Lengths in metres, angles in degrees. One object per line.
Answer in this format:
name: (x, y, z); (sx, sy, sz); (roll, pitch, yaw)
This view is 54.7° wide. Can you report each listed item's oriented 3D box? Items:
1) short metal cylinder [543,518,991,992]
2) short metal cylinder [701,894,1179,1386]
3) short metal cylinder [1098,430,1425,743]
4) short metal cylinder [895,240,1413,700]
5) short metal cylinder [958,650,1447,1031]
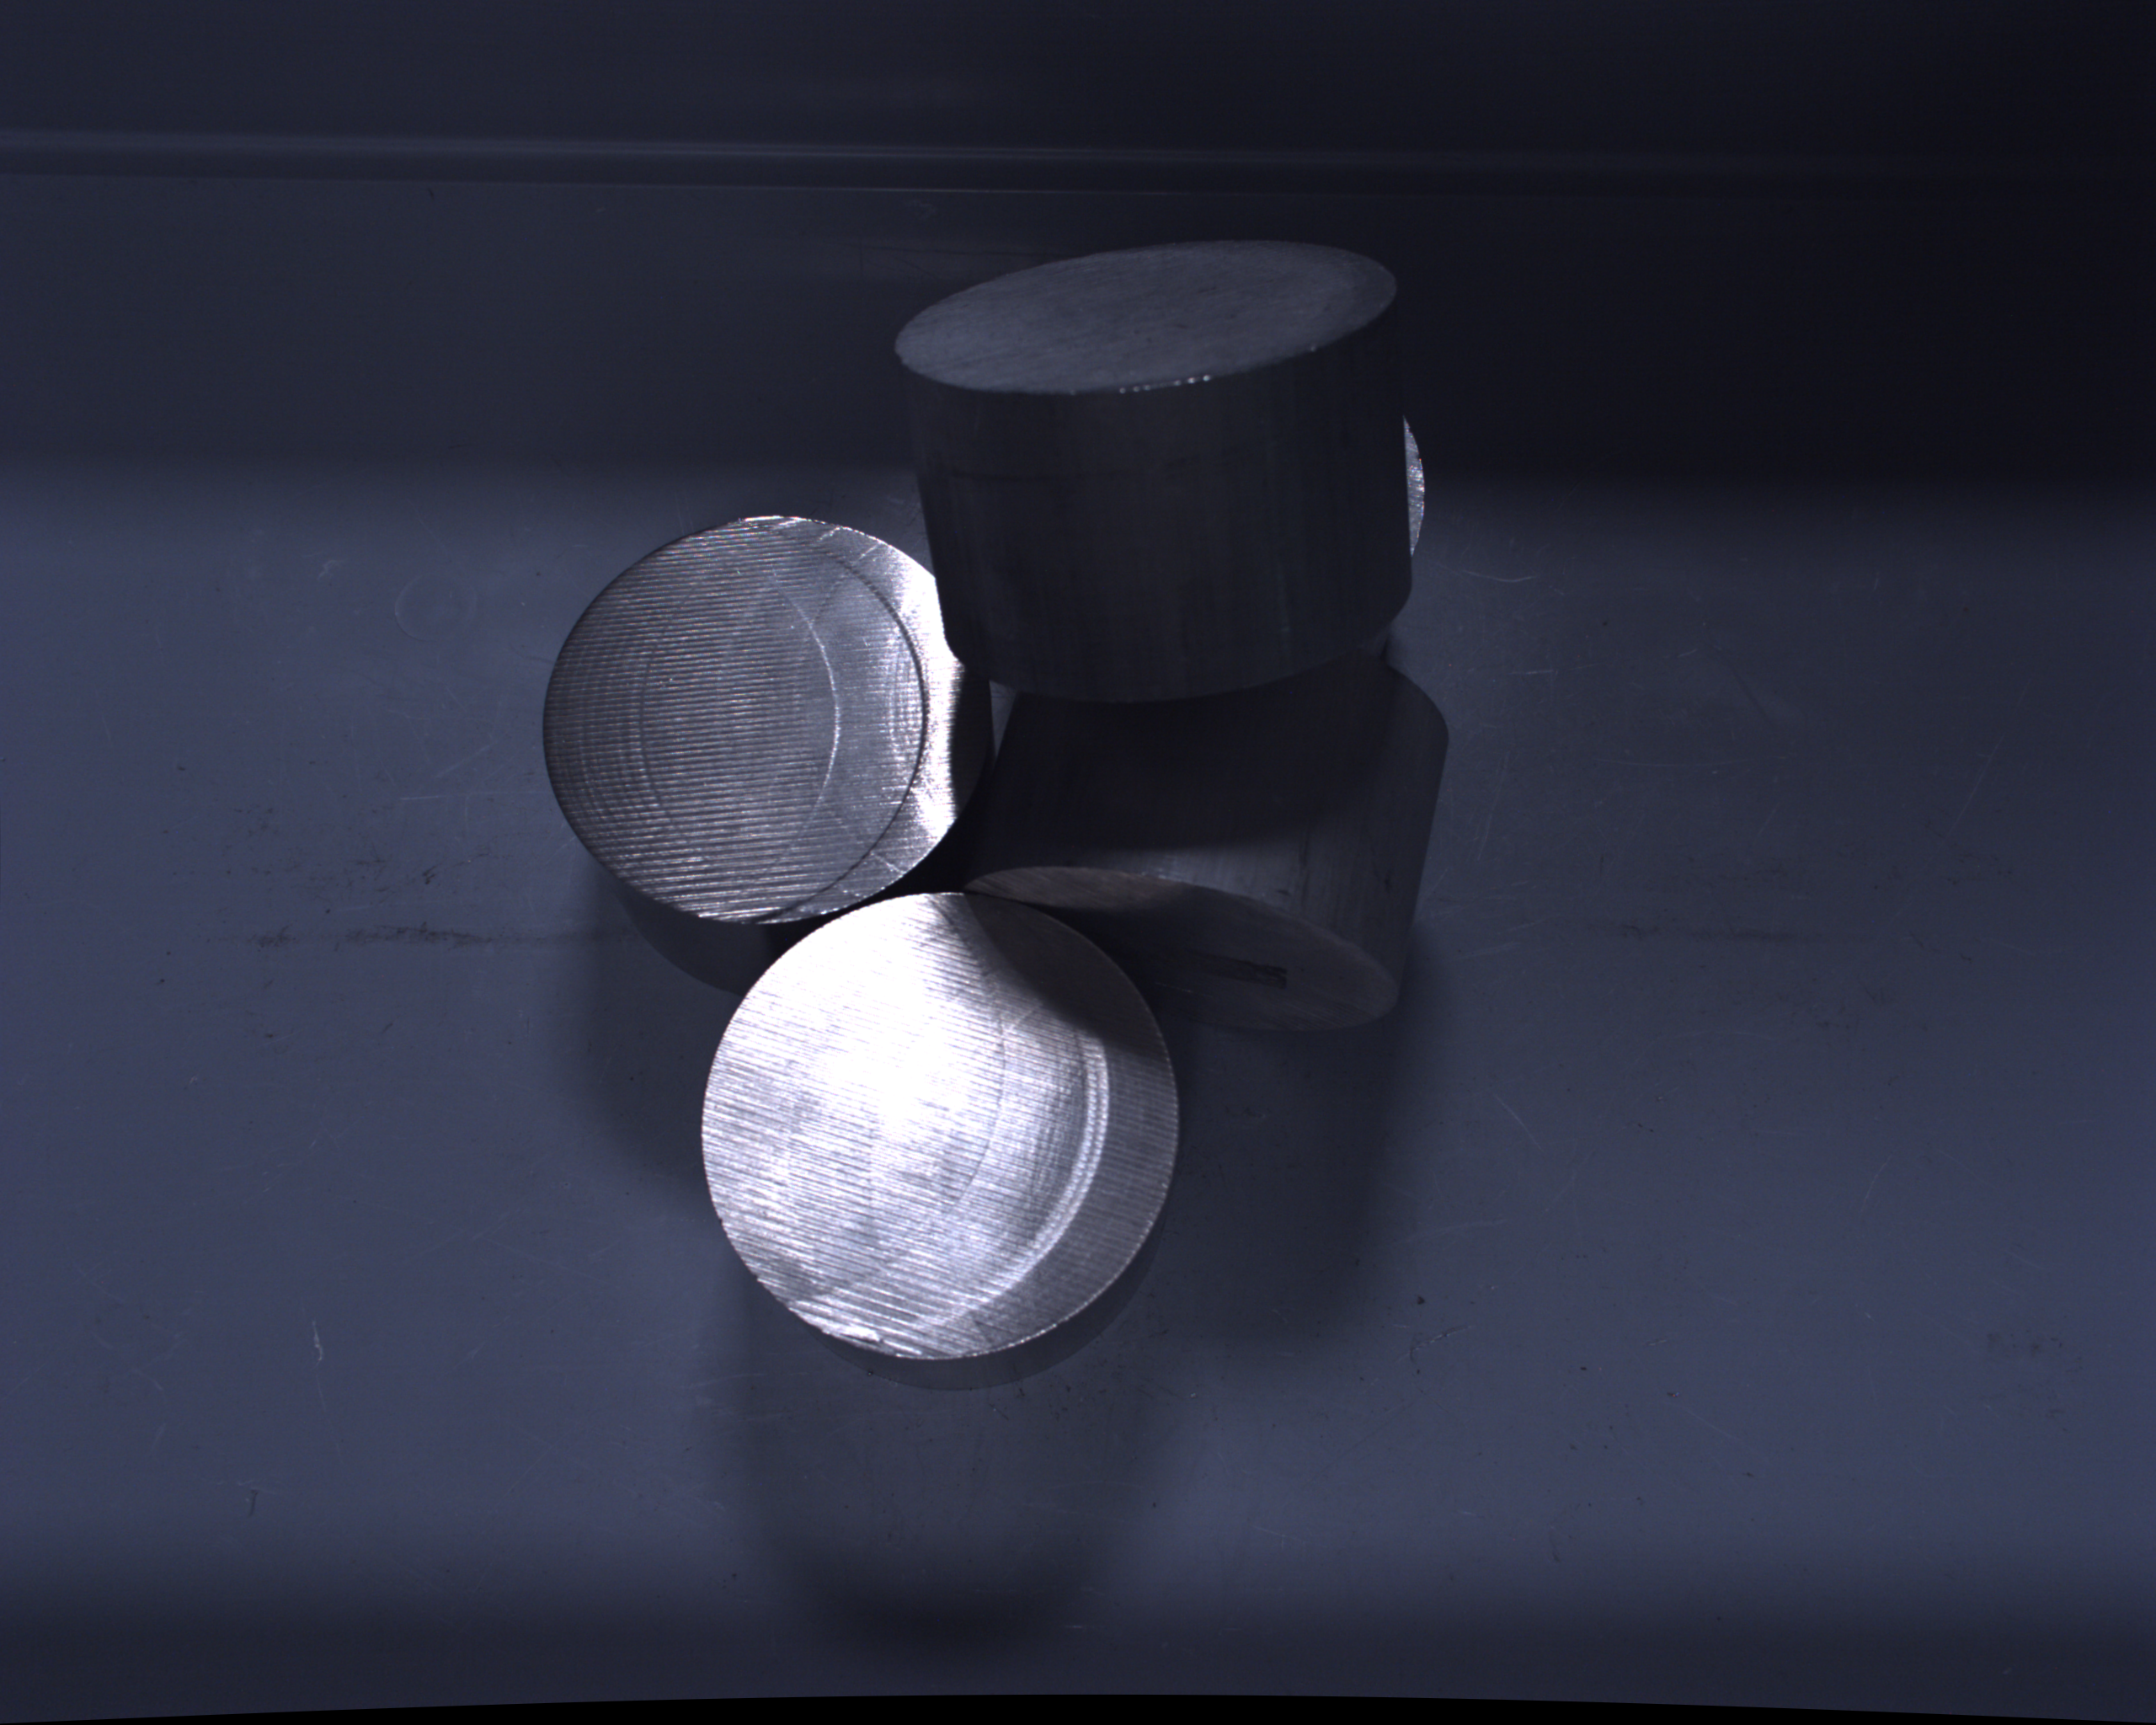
short metal cylinder: (-0.056, -0.019, 0.400); (0.081, 0.050, 0.080); (0, 70, 0)
short metal cylinder: (-0.023, 0.051, 0.375); (0.081, 0.050, 0.080); (0, 70, 0)
short metal cylinder: (0.025, -0.063, 0.418); (0.081, 0.050, 0.080); (0, 70, 0)
short metal cylinder: (0.014, -0.067, 0.345); (0.080, 0.050, 0.080); (-6, 30, 4)
short metal cylinder: (0.023, -0.006, 0.382); (0.080, 0.080, 0.050); (13, 71, 4)
